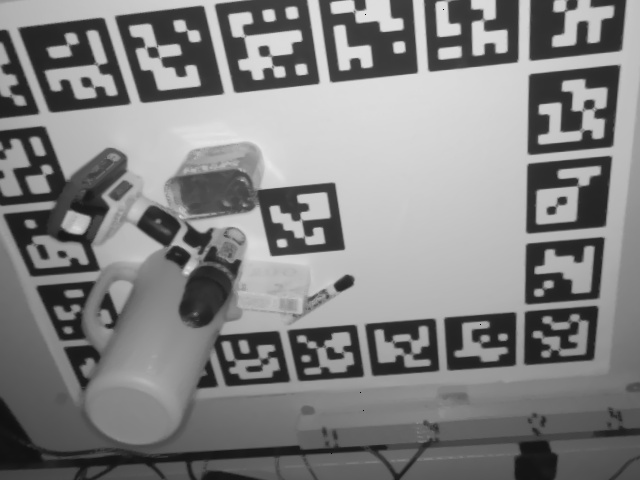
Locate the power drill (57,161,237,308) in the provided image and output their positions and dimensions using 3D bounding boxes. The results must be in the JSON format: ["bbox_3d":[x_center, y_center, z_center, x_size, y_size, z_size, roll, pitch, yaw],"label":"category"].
[{"bbox_3d":[-0.195,-0.009,0.796,0.187,0.186,0.056,29,115,-5],"label":"power drill"}]

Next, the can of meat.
[{"bbox_3d":[-0.133,-0.093,0.799,0.101,0.084,0.057,-5,121,7],"label":"can of meat"}]

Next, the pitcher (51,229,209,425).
[{"bbox_3d":[-0.231,0.095,0.830,0.190,0.244,0.131,21,116,-15],"label":"pitcher"}]

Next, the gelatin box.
[{"bbox_3d":[-0.082,0.042,0.881,0.089,0.074,0.030,6,116,3],"label":"gelatin box"}]

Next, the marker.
[{"bbox_3d":[-0.020,0.073,0.922,0.120,0.020,0.019,-30,113,17],"label":"marker"}]
